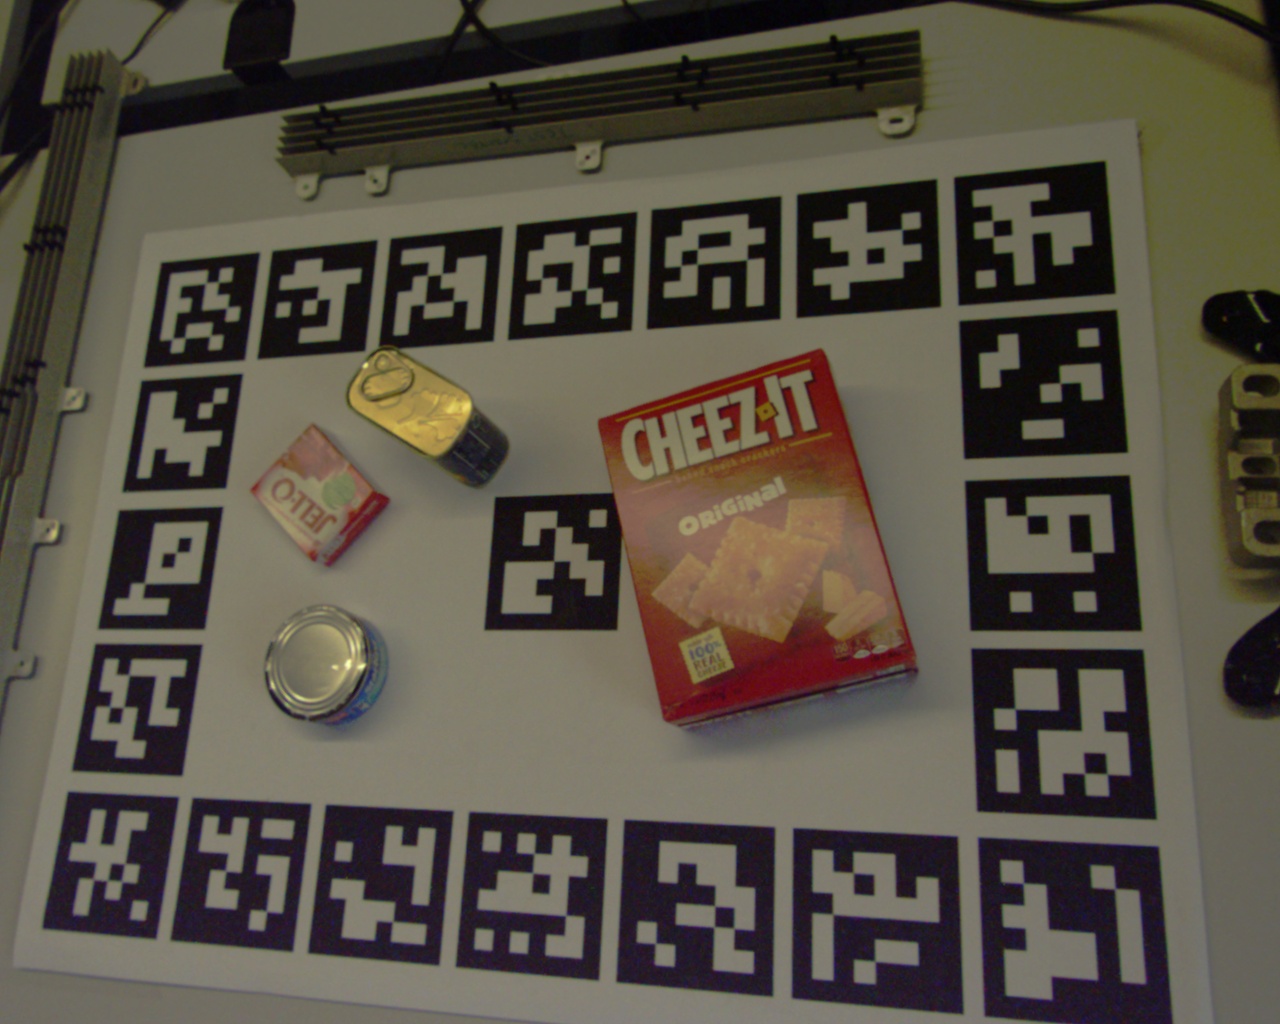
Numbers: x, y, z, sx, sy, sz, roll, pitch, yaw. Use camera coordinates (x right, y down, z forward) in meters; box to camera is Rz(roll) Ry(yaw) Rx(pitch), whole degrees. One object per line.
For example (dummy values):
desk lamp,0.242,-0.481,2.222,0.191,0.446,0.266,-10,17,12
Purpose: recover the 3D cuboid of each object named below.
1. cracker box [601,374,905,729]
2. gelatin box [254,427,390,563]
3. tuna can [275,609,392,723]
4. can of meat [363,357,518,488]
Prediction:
cracker box,0.076,0.027,0.811,0.165,0.071,0.215,-18,68,9
gelatin box,-0.261,-0.015,0.938,0.090,0.030,0.073,42,85,20
tuna can,-0.236,0.120,0.884,0.086,0.033,0.086,-4,75,16
can of meat,-0.155,-0.068,0.903,0.103,0.083,0.058,29,82,23
